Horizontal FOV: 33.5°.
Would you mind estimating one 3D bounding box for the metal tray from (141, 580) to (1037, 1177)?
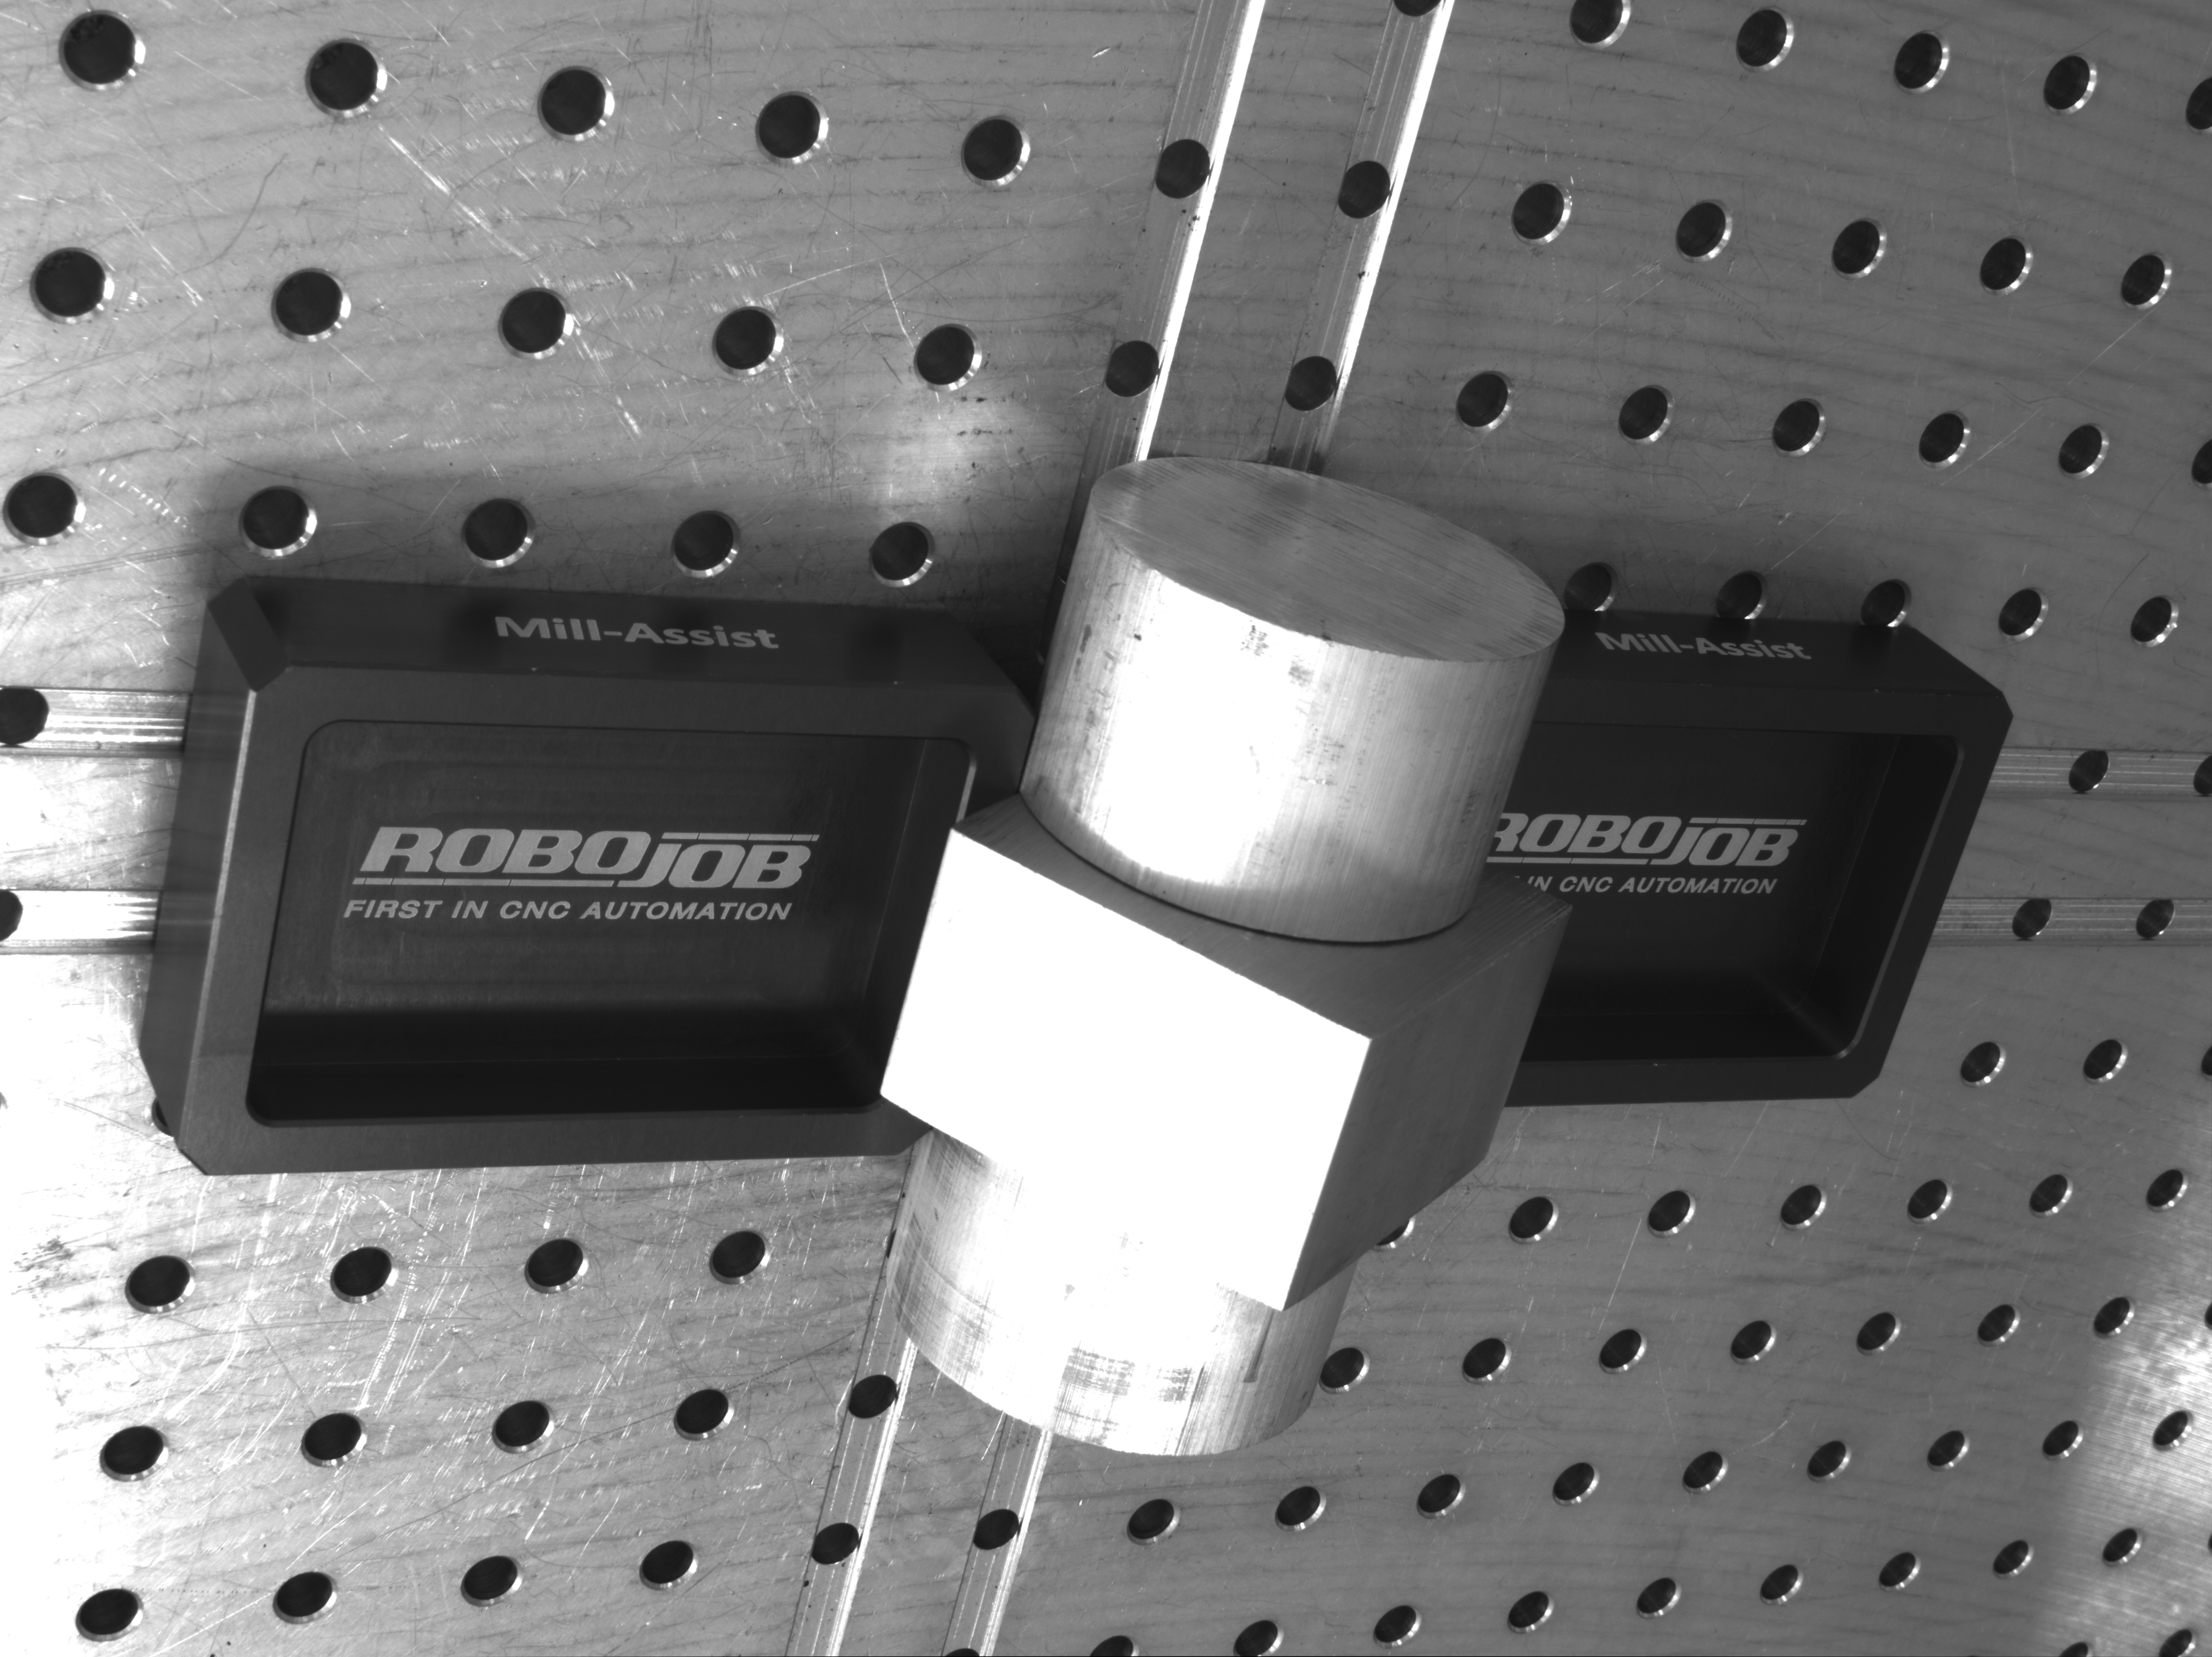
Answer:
[{"bbox_3d":[-0.084,0.009,0.598,0.130,0.030,0.090,1,118,-29],"label":"metal tray"}]

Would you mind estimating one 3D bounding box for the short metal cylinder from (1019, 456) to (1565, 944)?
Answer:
[{"bbox_3d":[0.030,-0.023,0.608,0.080,0.080,0.050,1,118,-29],"label":"short metal cylinder"}]

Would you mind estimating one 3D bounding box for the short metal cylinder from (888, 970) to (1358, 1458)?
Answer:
[{"bbox_3d":[0.006,0.066,0.649,0.080,0.080,0.050,2,117,-29],"label":"short metal cylinder"}]

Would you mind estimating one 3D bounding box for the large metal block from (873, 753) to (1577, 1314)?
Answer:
[{"bbox_3d":[0.021,0.029,0.616,0.080,0.080,0.050,-25,136,-57],"label":"large metal block"}]

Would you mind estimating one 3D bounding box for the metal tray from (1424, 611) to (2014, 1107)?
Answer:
[{"bbox_3d":[0.100,0.007,0.695,0.130,0.030,0.090,1,118,-29],"label":"metal tray"}]
